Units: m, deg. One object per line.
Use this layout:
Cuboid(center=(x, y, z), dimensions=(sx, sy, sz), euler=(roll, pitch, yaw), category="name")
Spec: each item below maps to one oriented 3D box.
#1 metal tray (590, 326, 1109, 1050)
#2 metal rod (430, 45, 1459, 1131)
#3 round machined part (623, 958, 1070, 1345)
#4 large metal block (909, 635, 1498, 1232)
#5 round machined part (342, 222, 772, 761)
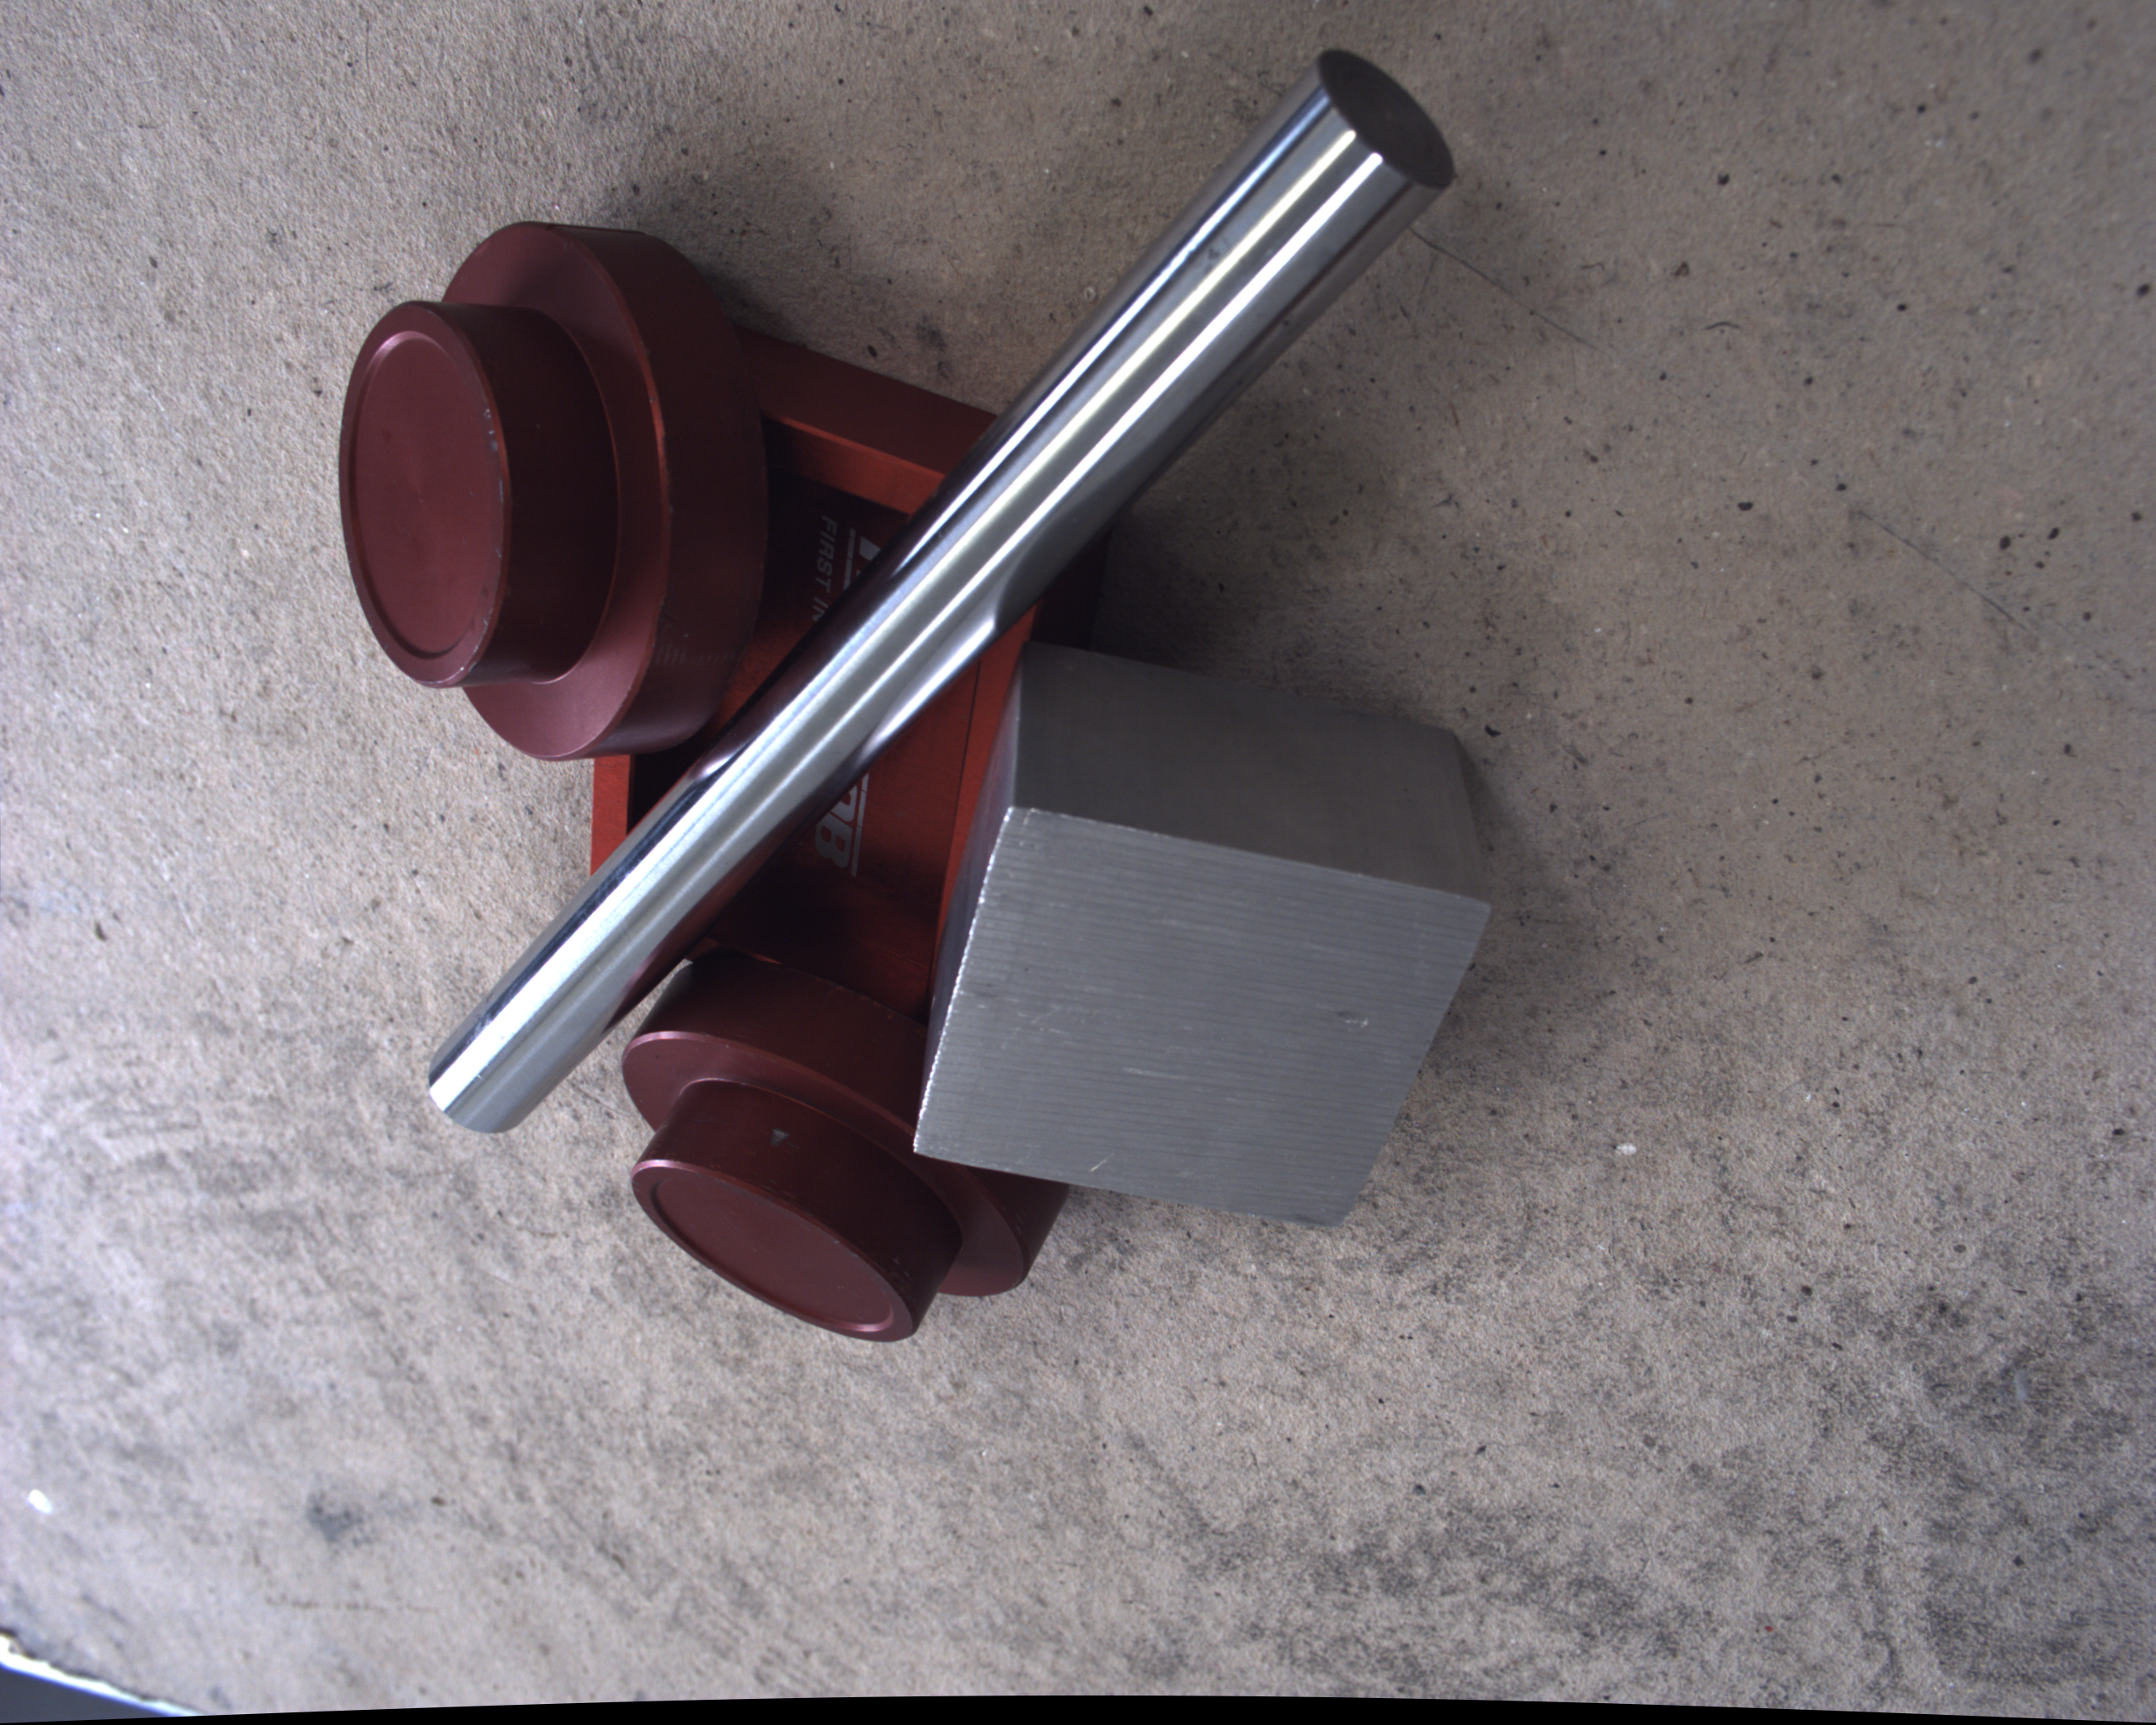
Cuboid(center=(-0.049, -0.030, 0.412), dimensions=(0.090, 0.030, 0.129), euler=(22, 127, 14), category="metal tray")
Cuboid(center=(-0.046, -0.026, 0.378), dimensions=(0.025, 0.025, 0.299), euler=(46, 129, -4), category="metal rod")
Cuboid(center=(-0.055, 0.067, 0.445), dimensions=(0.098, 0.042, 0.098), euler=(20, 148, 14), category="round machined part")
Cuboid(center=(0.019, 0.014, 0.372), dimensions=(0.081, 0.050, 0.079), euler=(12, 127, -8), category="large metal block")
Cuboid(center=(-0.101, -0.067, 0.383), dimensions=(0.098, 0.042, 0.097), euler=(12, 106, 47), category="round machined part")
